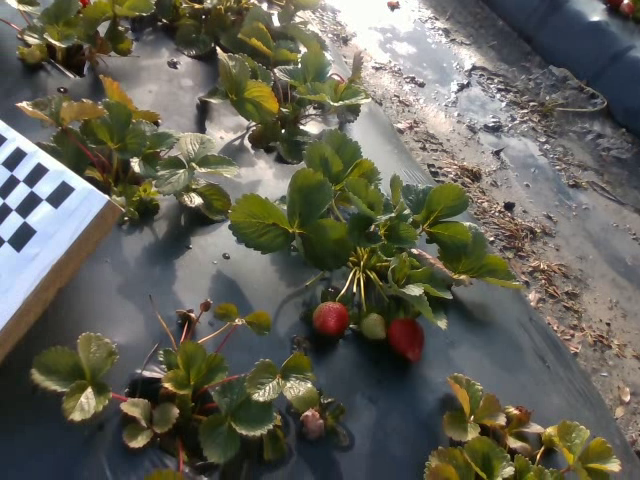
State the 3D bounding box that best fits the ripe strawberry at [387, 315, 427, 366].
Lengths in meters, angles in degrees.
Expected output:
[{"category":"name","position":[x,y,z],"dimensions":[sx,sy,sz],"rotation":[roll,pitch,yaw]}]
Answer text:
[{"category":"ripe strawberry","position":[0.103,0.118,0.714],"dimensions":[0.048,0.065,0.050],"rotation":[-20,-40,14]}]
